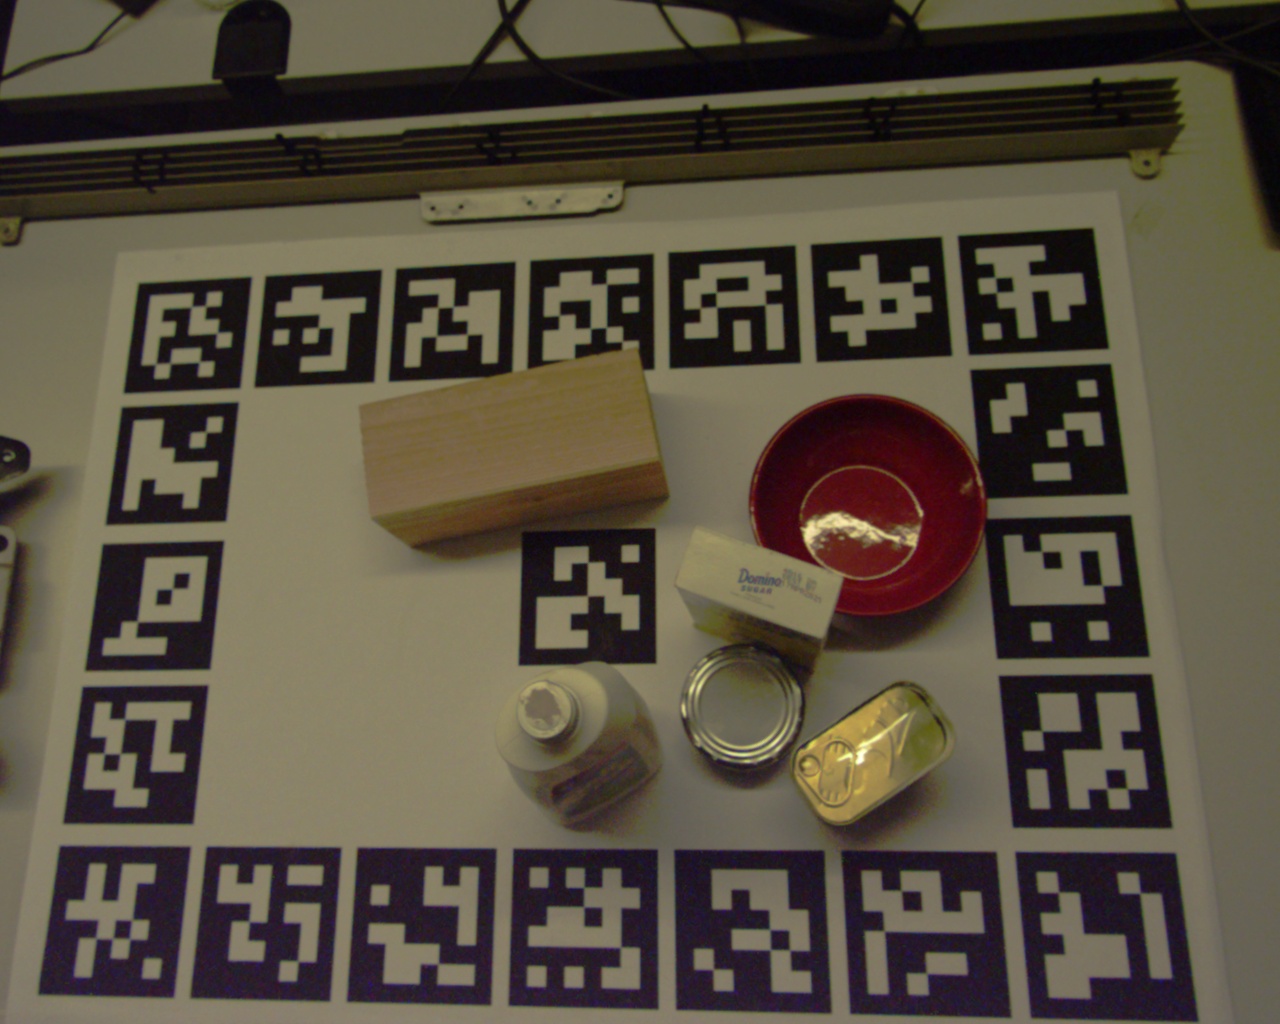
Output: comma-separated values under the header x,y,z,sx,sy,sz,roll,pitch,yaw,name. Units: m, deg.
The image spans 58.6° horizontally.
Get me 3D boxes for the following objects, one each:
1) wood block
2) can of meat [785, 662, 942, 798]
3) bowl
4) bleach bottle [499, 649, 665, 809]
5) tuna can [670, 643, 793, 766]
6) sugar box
x,y,z,sx,sy,sz,roll,pitch,yaw,name
-0.095,-0.042,0.870,0.206,0.089,0.091,-11,76,3,wood block
0.149,0.154,0.781,0.101,0.083,0.058,-31,69,-5,can of meat
0.165,-0.006,0.839,0.162,0.055,0.162,-3,72,10,bowl
-0.044,0.136,0.722,0.102,0.249,0.068,-27,71,-2,bleach bottle
0.066,0.138,0.816,0.086,0.033,0.086,-2,76,7,tuna can
0.080,0.059,0.764,0.093,0.175,0.045,18,78,15,sugar box
